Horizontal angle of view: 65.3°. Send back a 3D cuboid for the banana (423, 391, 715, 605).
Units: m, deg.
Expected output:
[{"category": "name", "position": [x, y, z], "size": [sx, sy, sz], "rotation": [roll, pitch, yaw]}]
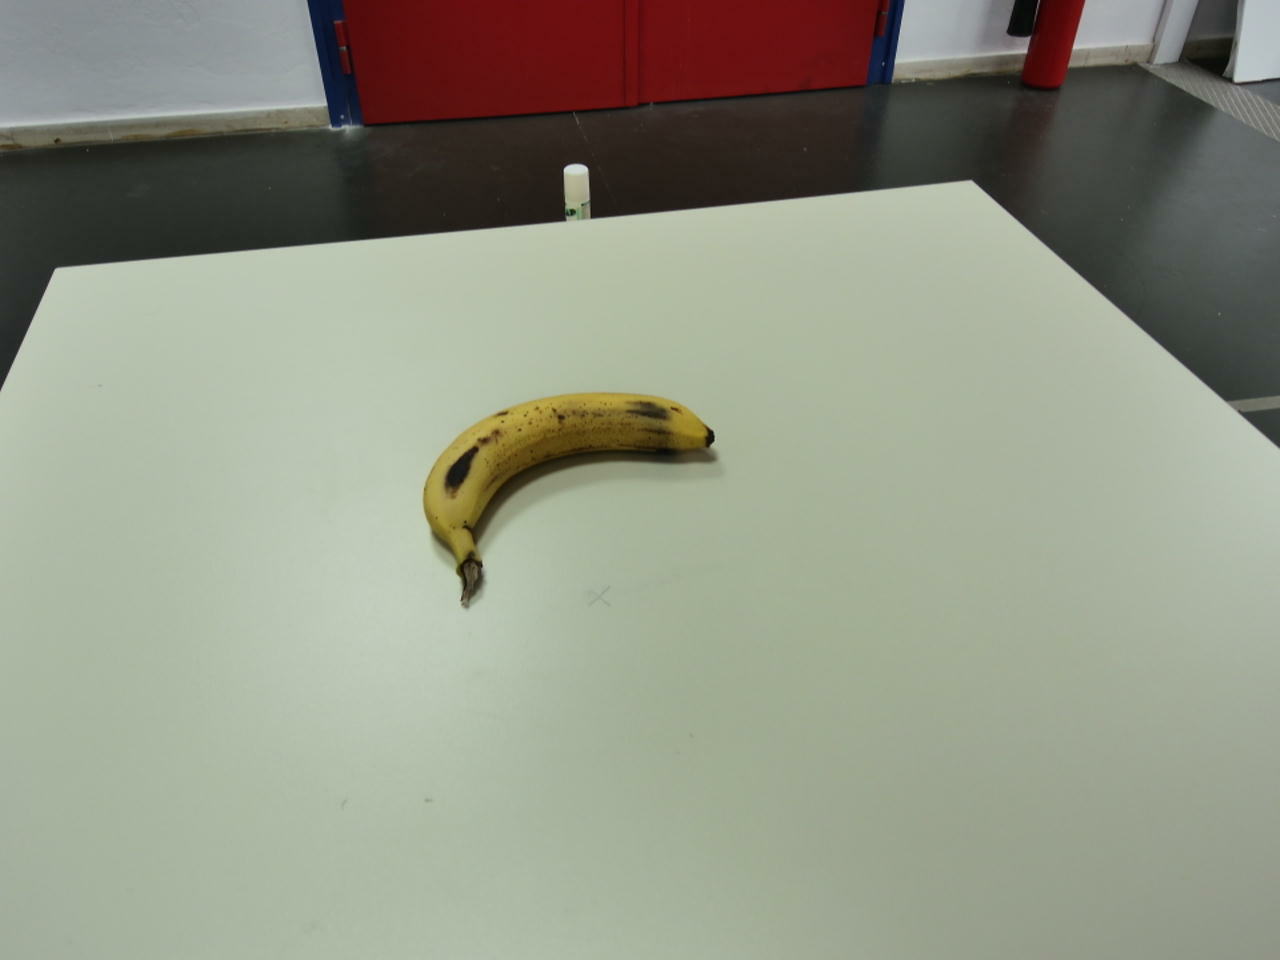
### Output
[{"category": "banana", "position": [-0.051, -0.012, 0.599], "size": [0.186, 0.038, 0.097], "rotation": [-28, 47, -30]}]
